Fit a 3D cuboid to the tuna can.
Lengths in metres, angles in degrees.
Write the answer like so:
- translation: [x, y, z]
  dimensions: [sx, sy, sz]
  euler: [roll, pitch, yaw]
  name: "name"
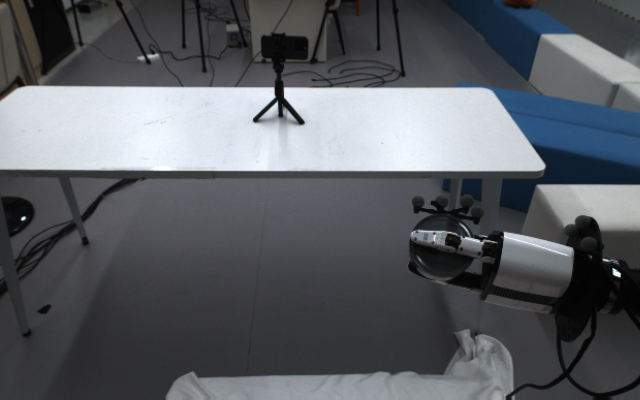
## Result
- translation: [0.162, 0.059, 0.645]
  dimensions: [0.085, 0.034, 0.085]
  euler: [-2, 70, 7]
  name: "tuna can"
